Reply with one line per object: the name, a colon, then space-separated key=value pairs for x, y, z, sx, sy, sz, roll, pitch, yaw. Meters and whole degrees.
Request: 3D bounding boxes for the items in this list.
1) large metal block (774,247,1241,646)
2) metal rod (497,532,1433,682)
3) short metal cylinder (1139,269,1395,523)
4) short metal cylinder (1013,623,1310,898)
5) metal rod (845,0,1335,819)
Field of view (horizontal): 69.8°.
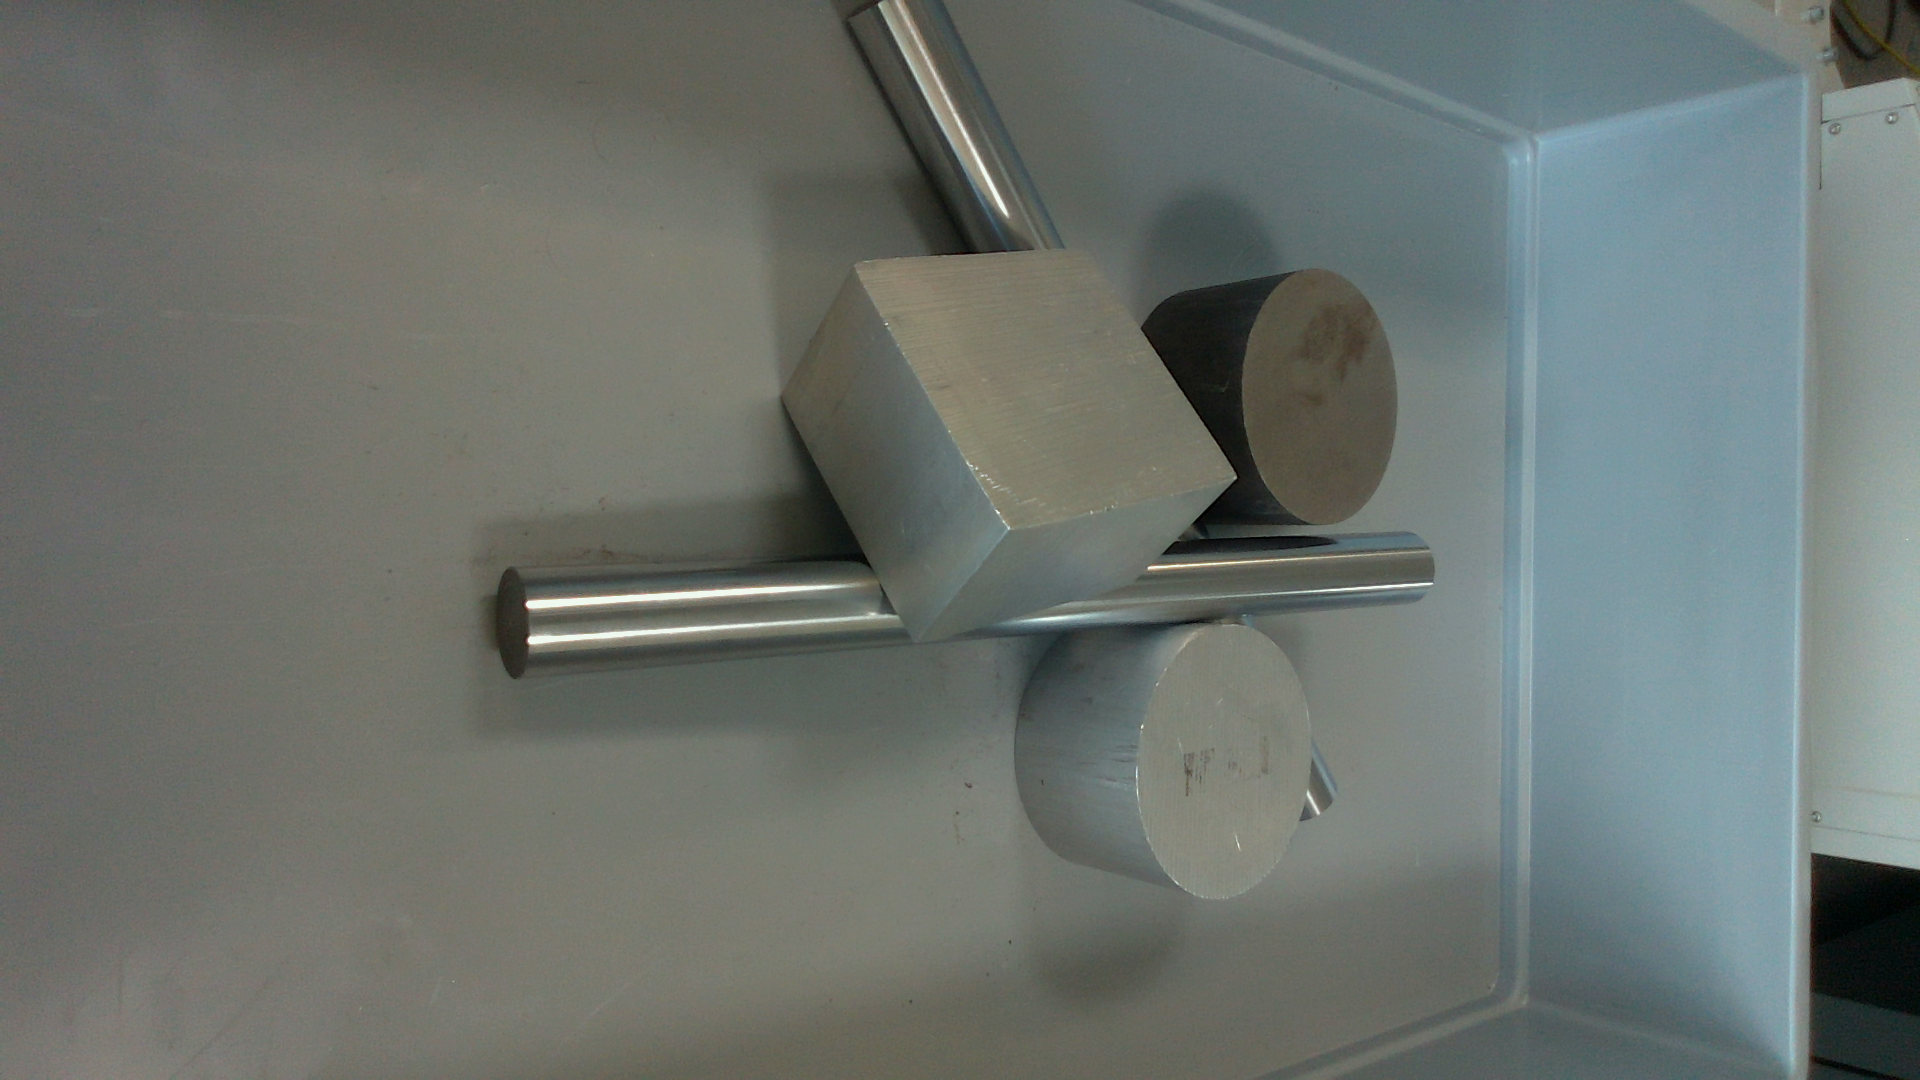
large metal block: x=0.011 y=-0.027 z=0.357 sx=0.080 sy=0.050 sz=0.080 roll=-13 pitch=64 yaw=-39
metal rod: x=0.026 y=0.014 z=0.387 sx=0.301 sy=0.025 sz=0.025 roll=-2 pitch=91 yaw=-34
short metal cylinder: x=0.099 y=-0.046 z=0.454 sx=0.080 sy=0.050 sz=0.080 roll=0 pitch=90 yaw=-40
short metal cylinder: x=0.063 y=0.065 z=0.423 sx=0.080 sy=0.050 sz=0.080 roll=0 pitch=90 yaw=-40
metal rod: x=0.051 y=-0.028 z=0.430 sx=0.025 sy=0.025 sz=0.300 roll=-45 pitch=117 yaw=-30
